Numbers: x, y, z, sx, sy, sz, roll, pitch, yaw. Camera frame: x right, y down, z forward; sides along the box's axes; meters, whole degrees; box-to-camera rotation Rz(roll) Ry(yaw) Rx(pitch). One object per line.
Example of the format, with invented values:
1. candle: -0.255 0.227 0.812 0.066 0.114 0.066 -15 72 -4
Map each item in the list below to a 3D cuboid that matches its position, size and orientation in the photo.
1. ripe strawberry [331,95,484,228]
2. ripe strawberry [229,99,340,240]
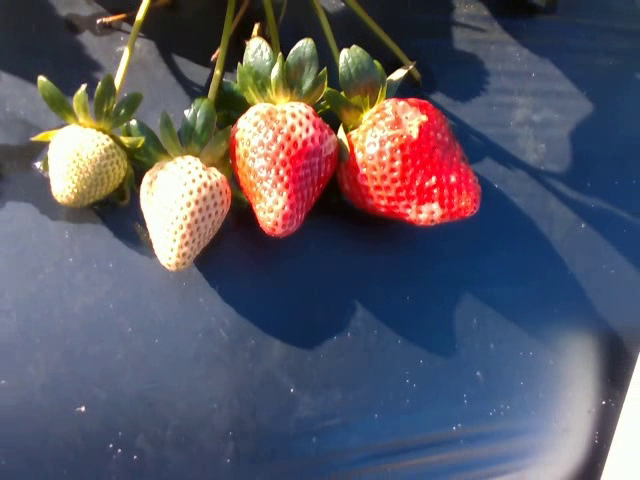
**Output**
1. ripe strawberry: 0.039 -0.027 0.233 0.067 0.057 0.051 43 1 24
2. ripe strawberry: -0.013 -0.025 0.218 0.050 0.061 0.043 24 -35 -30
